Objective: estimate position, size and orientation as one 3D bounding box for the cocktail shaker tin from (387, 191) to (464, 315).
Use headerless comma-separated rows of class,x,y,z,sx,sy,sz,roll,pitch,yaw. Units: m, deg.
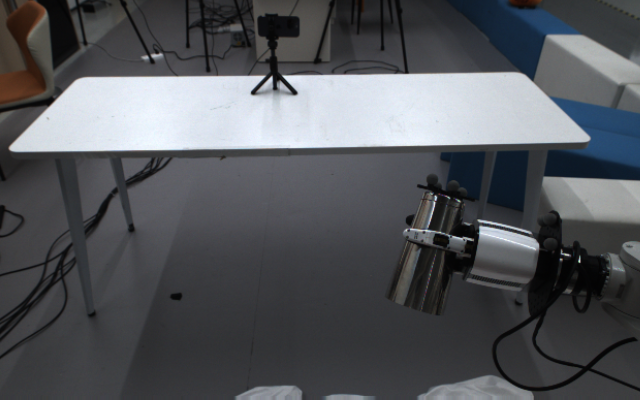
cocktail shaker tin,0.169,0.077,0.737,0.093,0.170,0.093,16,-2,1
